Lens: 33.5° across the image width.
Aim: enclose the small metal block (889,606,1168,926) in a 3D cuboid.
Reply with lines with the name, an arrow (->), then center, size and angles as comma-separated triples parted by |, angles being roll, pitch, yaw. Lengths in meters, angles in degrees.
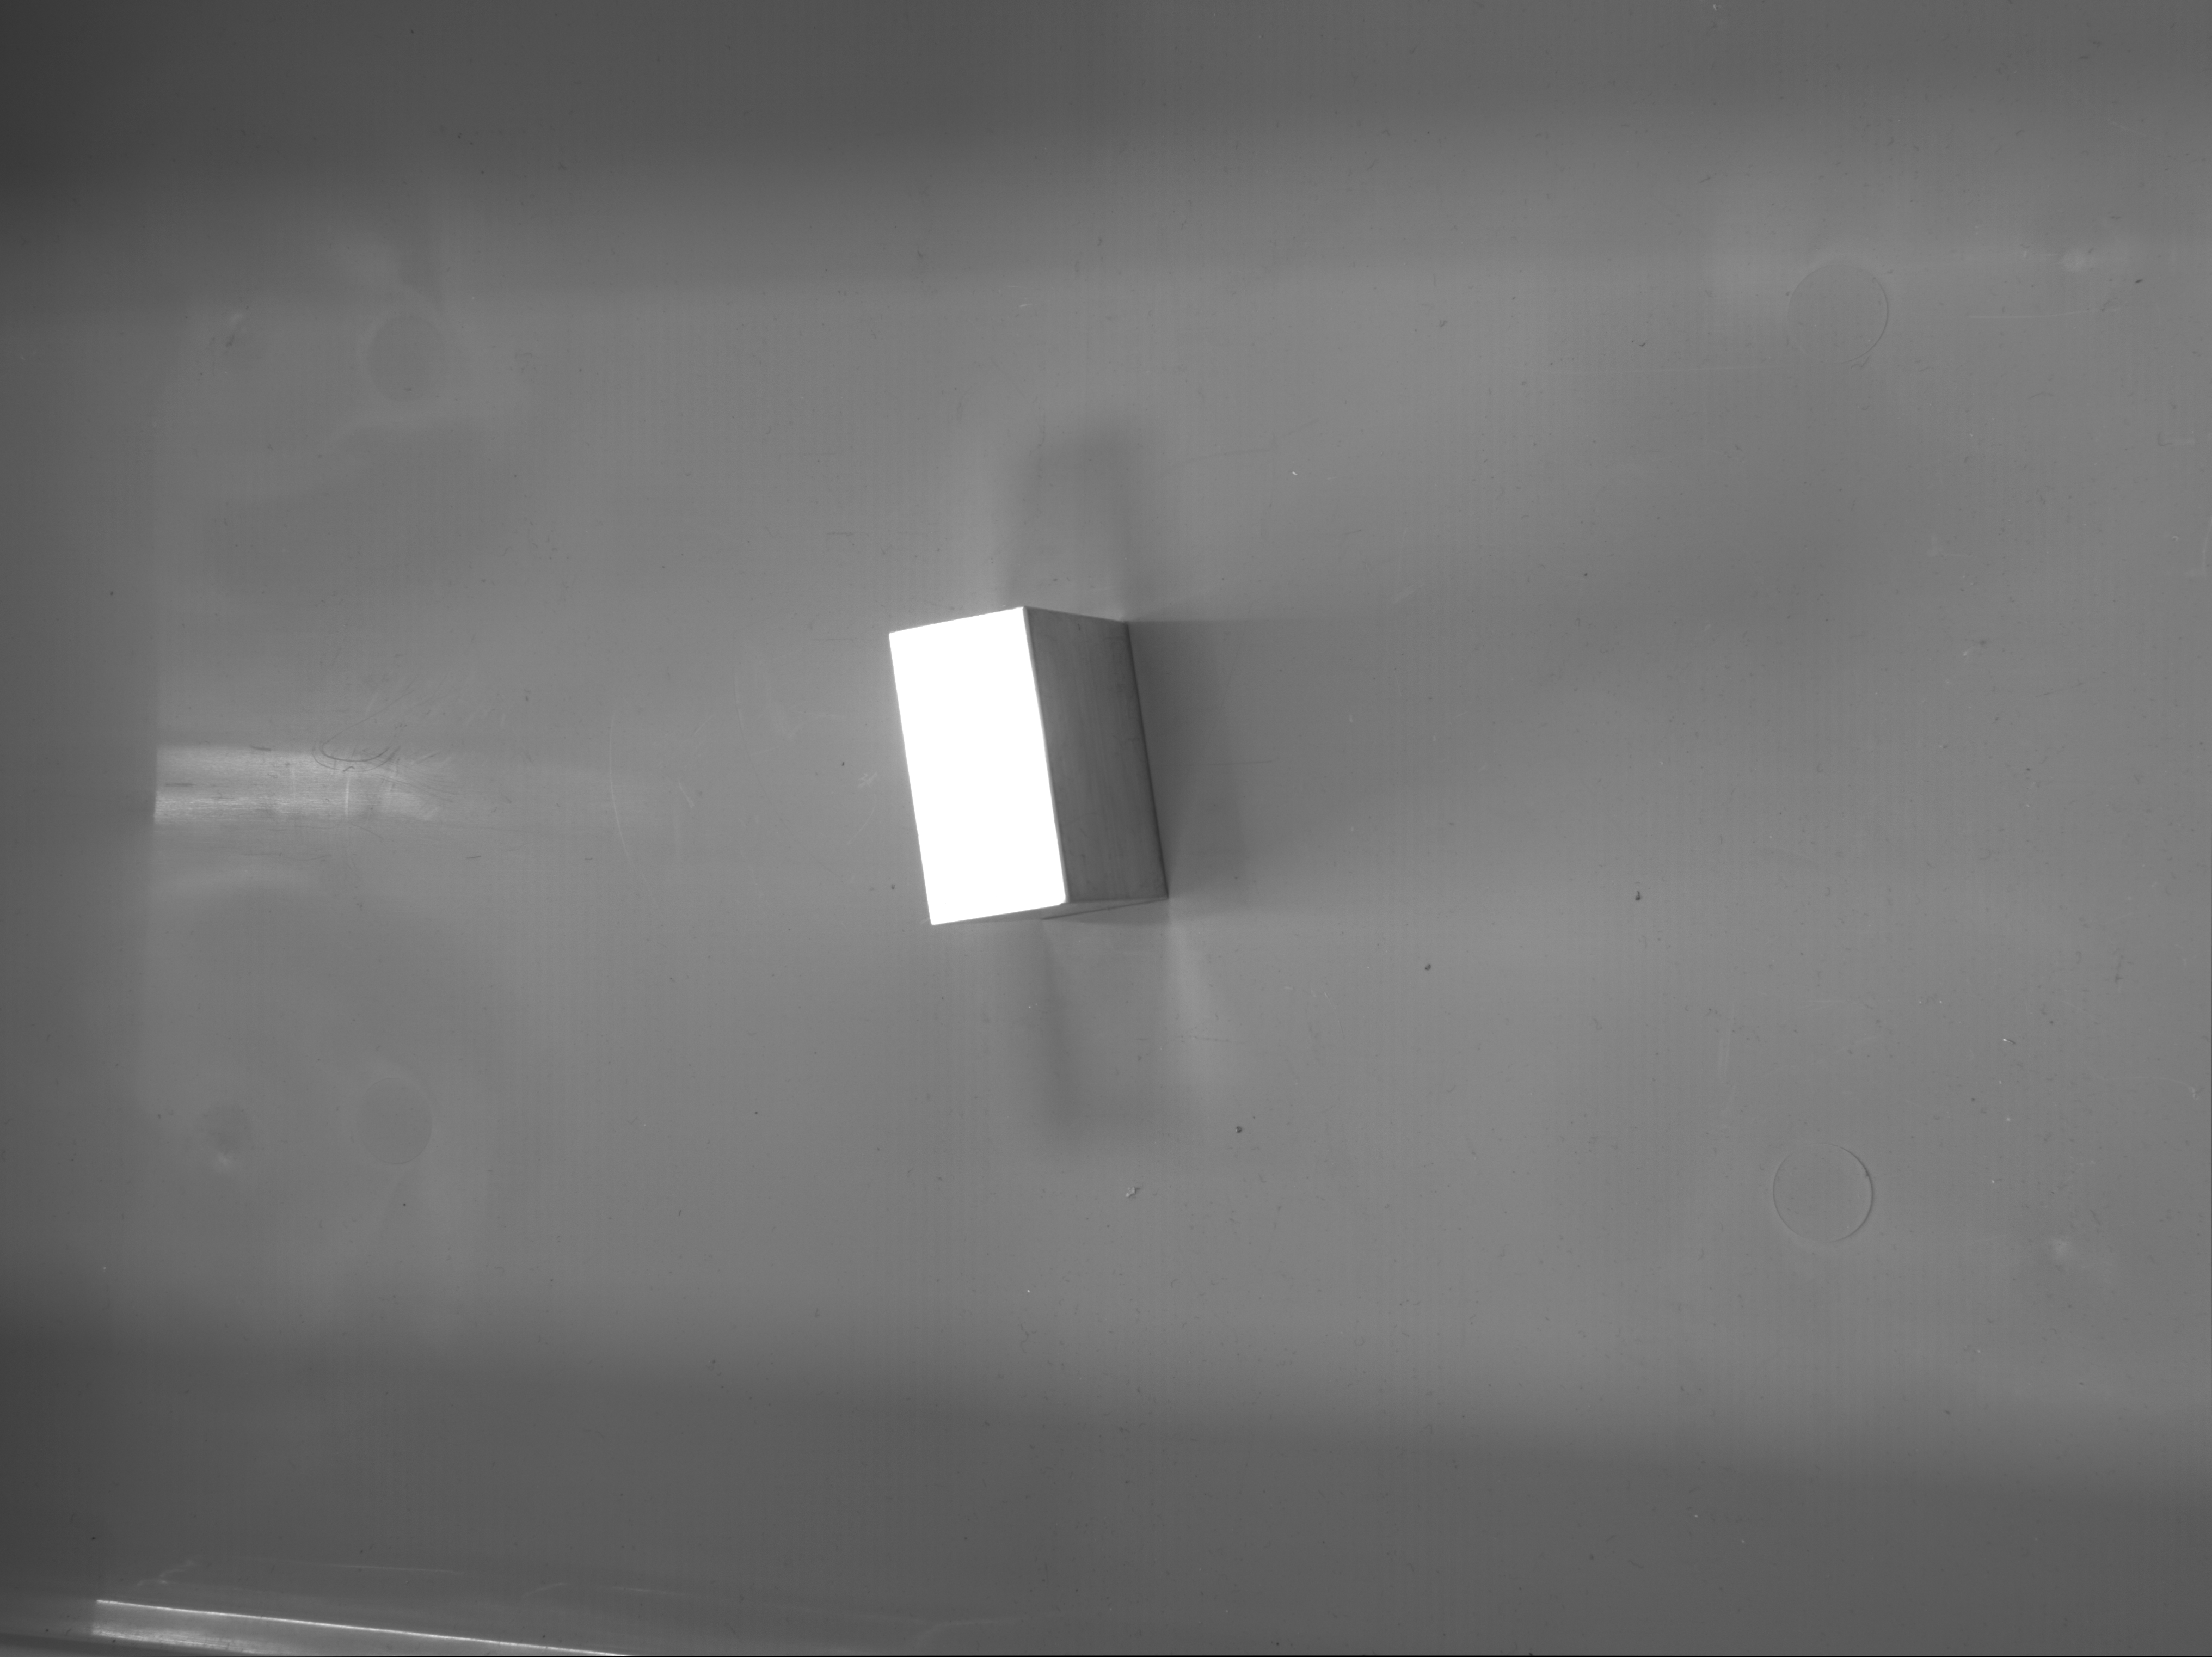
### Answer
small metal block -> -0.013, -0.010, 0.635 | 0.025, 0.050, 0.050 | -9, 86, 20
